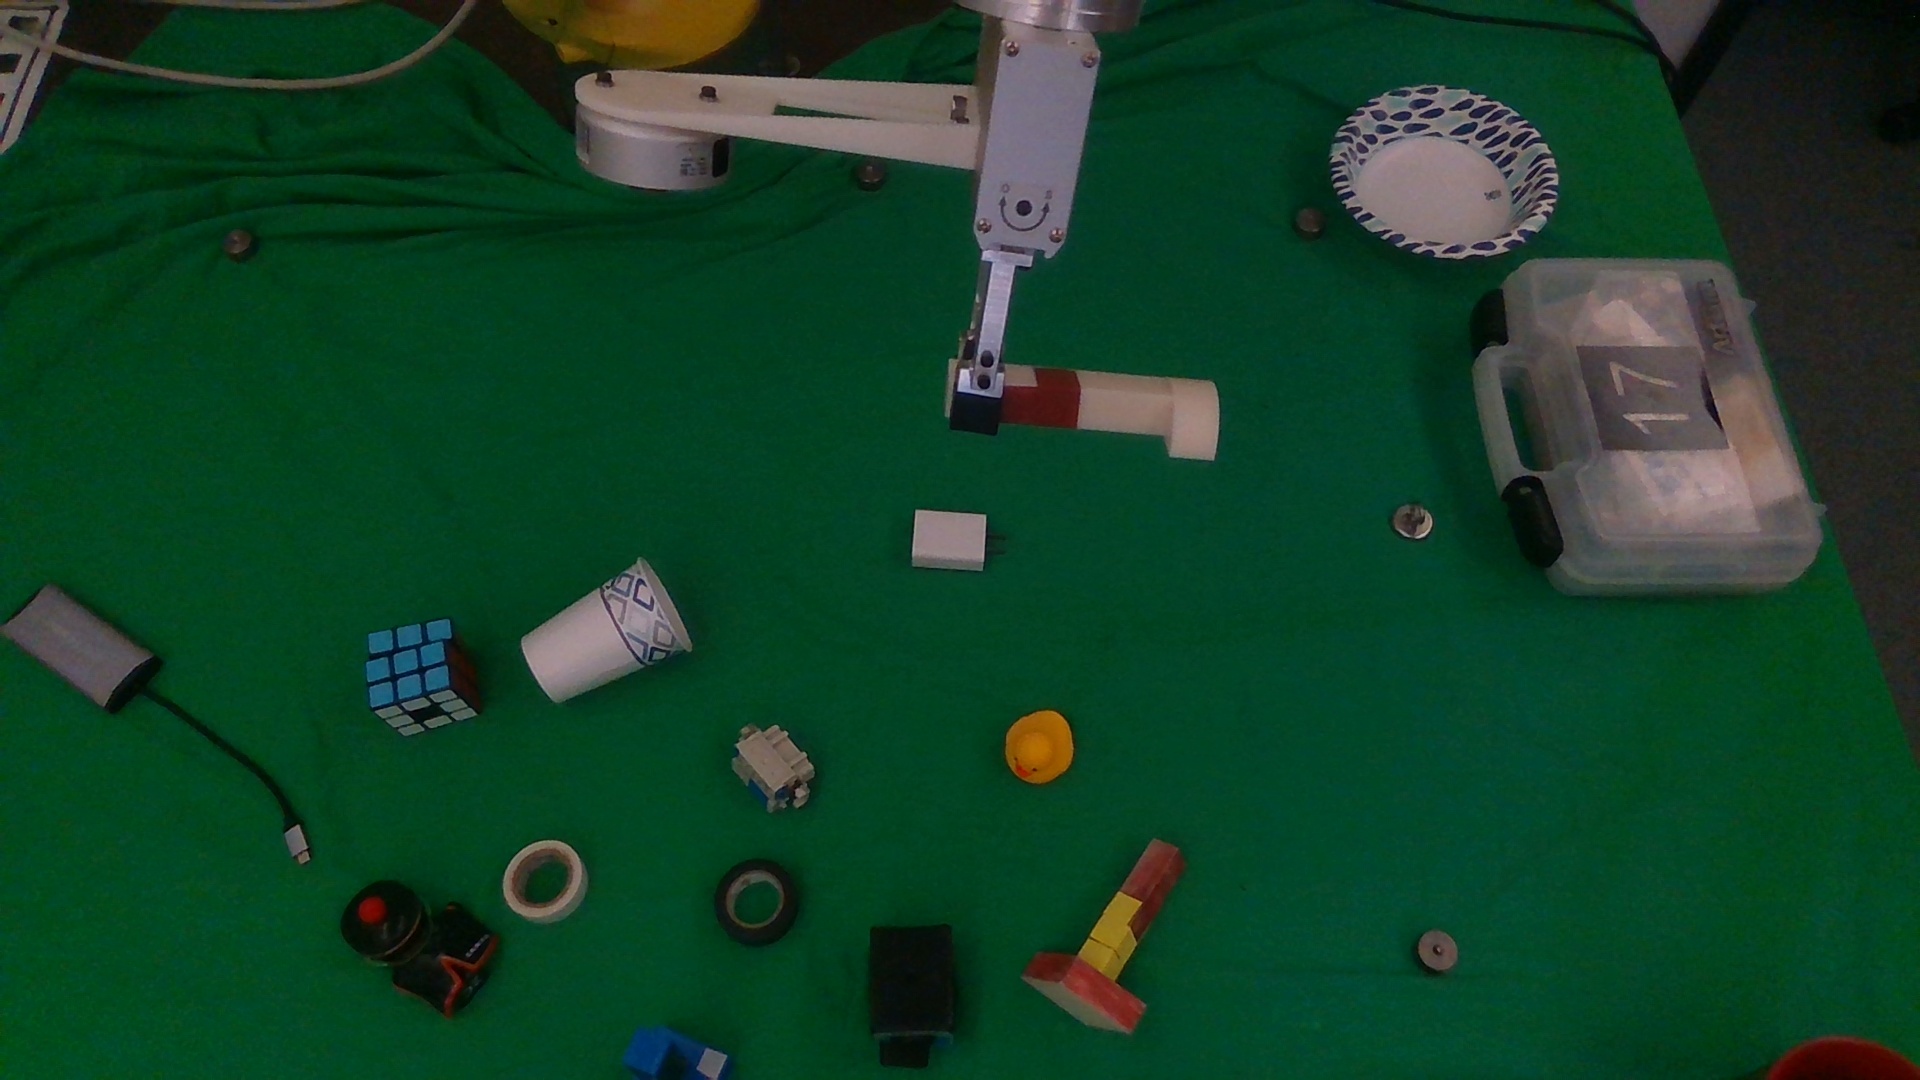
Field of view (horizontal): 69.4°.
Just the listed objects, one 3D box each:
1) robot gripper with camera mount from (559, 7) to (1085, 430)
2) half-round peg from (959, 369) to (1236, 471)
[{"bbox_3d":[-0.065,-0.130,0.563,0.193,0.158,0.119,4,32,-7],"label":"robot gripper with camera mount"},{"bbox_3d":[0.059,-0.058,0.616,0.122,0.031,0.054,5,31,-4],"label":"half-round peg"}]
